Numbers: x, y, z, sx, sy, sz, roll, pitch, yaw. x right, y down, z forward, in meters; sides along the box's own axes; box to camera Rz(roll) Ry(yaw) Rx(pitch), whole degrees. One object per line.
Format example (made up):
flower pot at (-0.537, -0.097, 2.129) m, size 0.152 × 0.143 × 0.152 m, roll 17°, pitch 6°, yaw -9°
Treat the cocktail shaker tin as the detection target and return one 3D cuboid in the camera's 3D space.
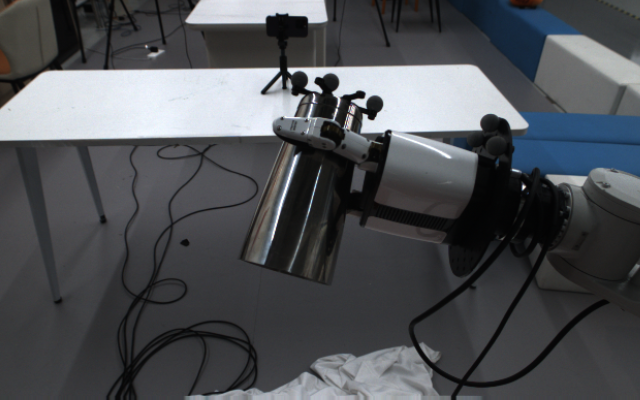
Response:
cocktail shaker tin at (-0.007, -0.014, 0.472) m, size 0.093 × 0.093 × 0.170 m, roll 13°, pitch 79°, yaw 15°
